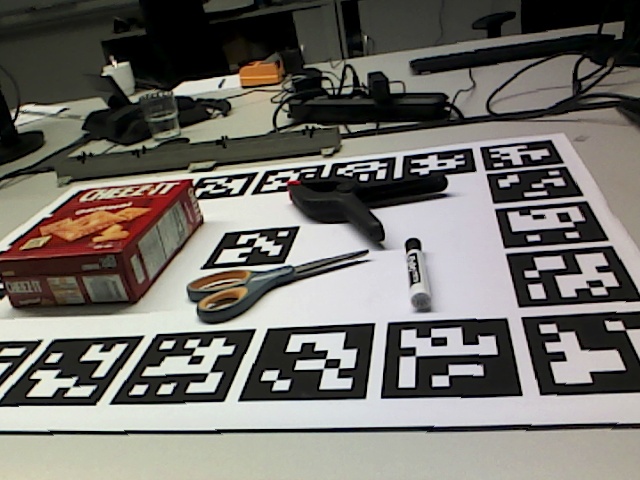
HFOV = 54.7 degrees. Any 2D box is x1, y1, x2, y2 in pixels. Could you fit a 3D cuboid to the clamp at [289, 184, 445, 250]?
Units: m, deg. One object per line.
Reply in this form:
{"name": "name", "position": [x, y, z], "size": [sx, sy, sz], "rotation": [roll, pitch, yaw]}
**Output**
{"name": "clamp", "position": [0.036, -0.044, 0.814], "size": [0.204, 0.036, 0.165], "rotation": [13, 32, 40]}

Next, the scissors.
{"name": "scissors", "position": [-0.046, 0.039, 0.660], "size": [0.202, 0.016, 0.088], "rotation": [-15, 24, -14]}

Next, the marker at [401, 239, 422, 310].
{"name": "marker", "position": [0.091, 0.030, 0.620], "size": [0.020, 0.019, 0.121], "rotation": [-6, 25, 10]}

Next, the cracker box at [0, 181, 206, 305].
{"name": "cracker box", "position": [-0.262, -0.003, 0.777], "size": [0.165, 0.072, 0.213], "rotation": [-4, 26, 15]}
